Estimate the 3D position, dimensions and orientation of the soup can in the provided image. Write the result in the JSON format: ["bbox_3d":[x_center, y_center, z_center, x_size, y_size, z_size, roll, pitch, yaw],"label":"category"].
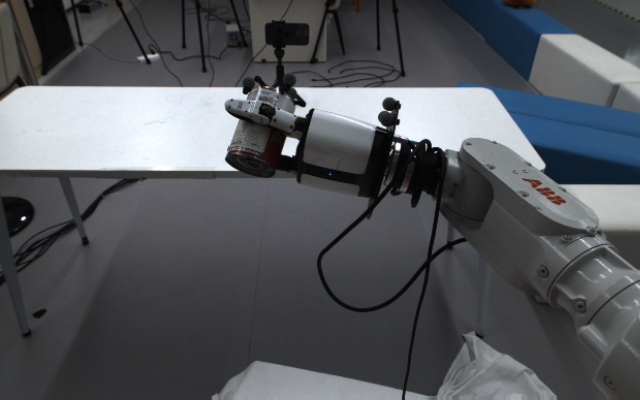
[{"bbox_3d":[-0.077,-0.089,0.639,0.067,0.067,0.101,11,72,13],"label":"soup can"}]
